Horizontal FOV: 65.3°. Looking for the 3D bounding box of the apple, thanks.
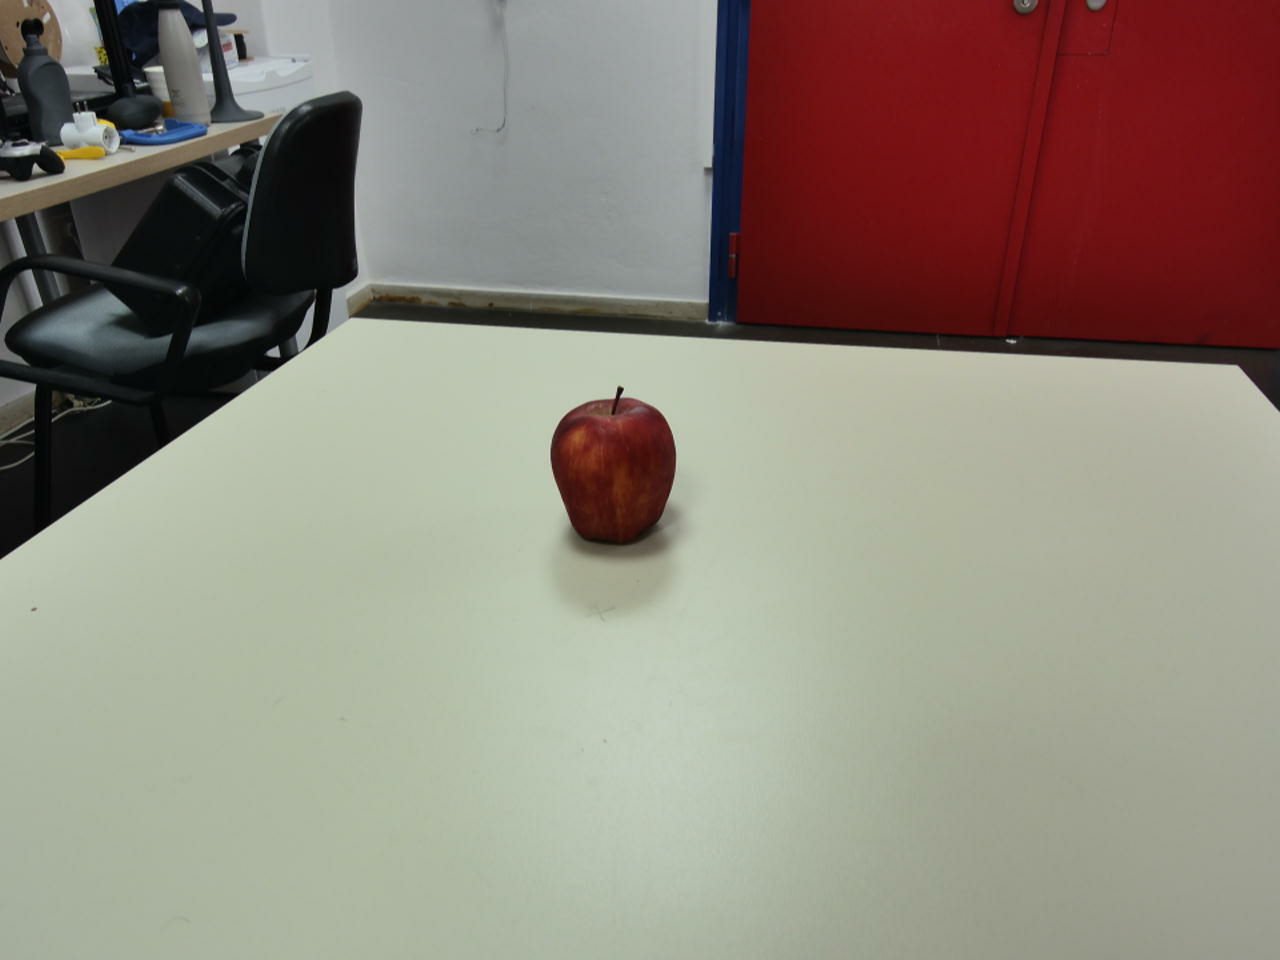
[{"bbox_3d":[-0.017,-0.013,0.593,0.083,0.090,0.083,-1,26,1],"label":"apple"}]
